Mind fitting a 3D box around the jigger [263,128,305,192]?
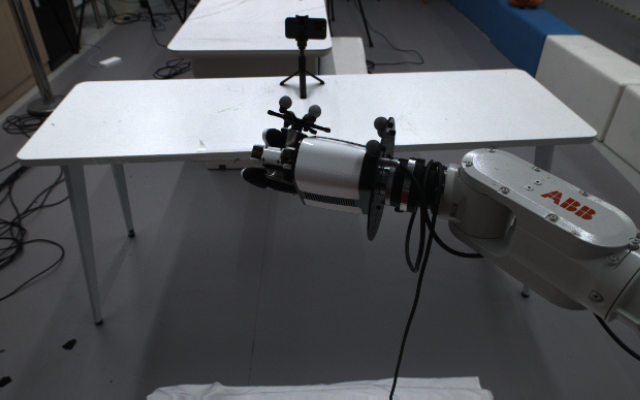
[{"bbox_3d":[-0.043,-0.058,0.649,0.043,0.071,0.043,18,-6,2],"label":"jigger"}]
